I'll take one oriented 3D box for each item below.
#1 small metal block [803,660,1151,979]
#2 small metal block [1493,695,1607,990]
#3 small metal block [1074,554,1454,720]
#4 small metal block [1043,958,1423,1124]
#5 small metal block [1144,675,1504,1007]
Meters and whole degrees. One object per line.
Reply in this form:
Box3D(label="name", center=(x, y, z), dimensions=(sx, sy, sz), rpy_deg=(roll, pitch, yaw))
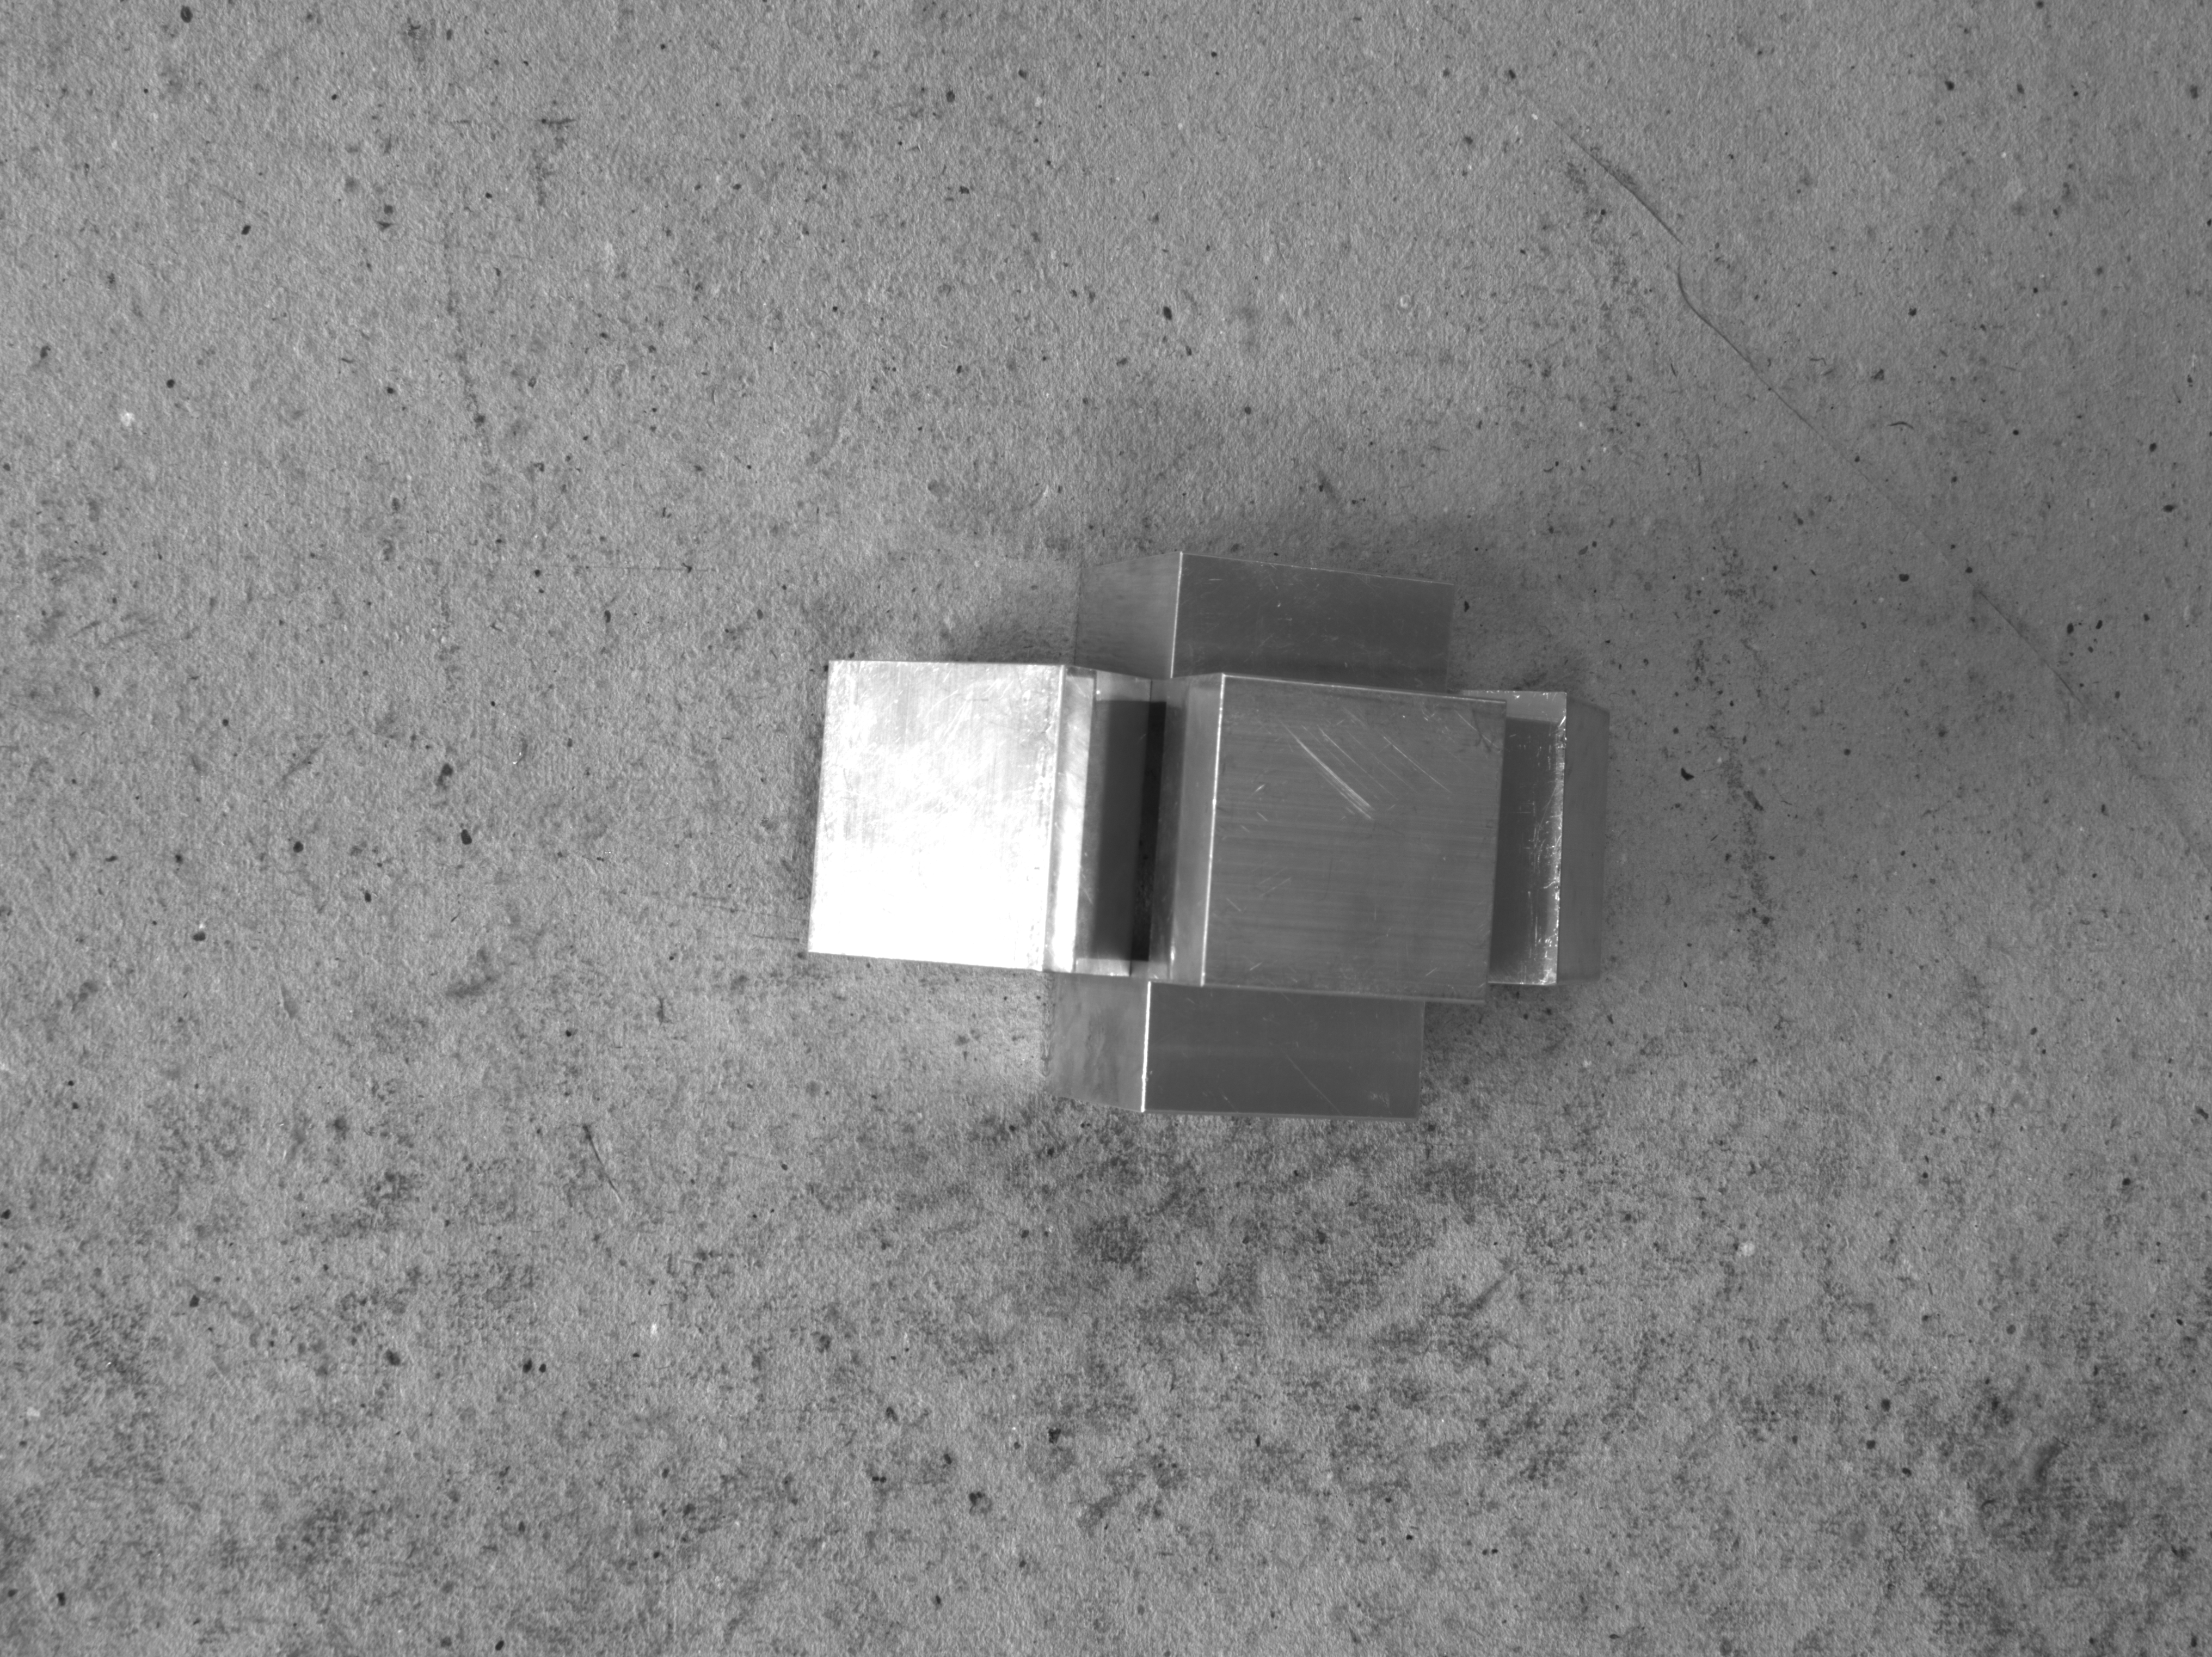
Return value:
Box3D(label="small metal block", center=(-0.022, -0.002, 0.621), dimensions=(0.025, 0.050, 0.050), rpy_deg=(6, 88, -55))
Box3D(label="small metal block", center=(0.072, 0.003, 0.654), dimensions=(0.025, 0.050, 0.050), rpy_deg=(2, 89, 16))
Box3D(label="small metal block", center=(0.026, -0.031, 0.640), dimensions=(0.050, 0.050, 0.025), rpy_deg=(5, 89, -20))
Box3D(label="small metal block", center=(0.021, 0.036, 0.639), dimensions=(0.050, 0.050, 0.025), rpy_deg=(4, 89, -20))
Box3D(label="small metal block", center=(0.036, 0.002, 0.604), dimensions=(0.050, 0.025, 0.050), rpy_deg=(4, 89, -20))
